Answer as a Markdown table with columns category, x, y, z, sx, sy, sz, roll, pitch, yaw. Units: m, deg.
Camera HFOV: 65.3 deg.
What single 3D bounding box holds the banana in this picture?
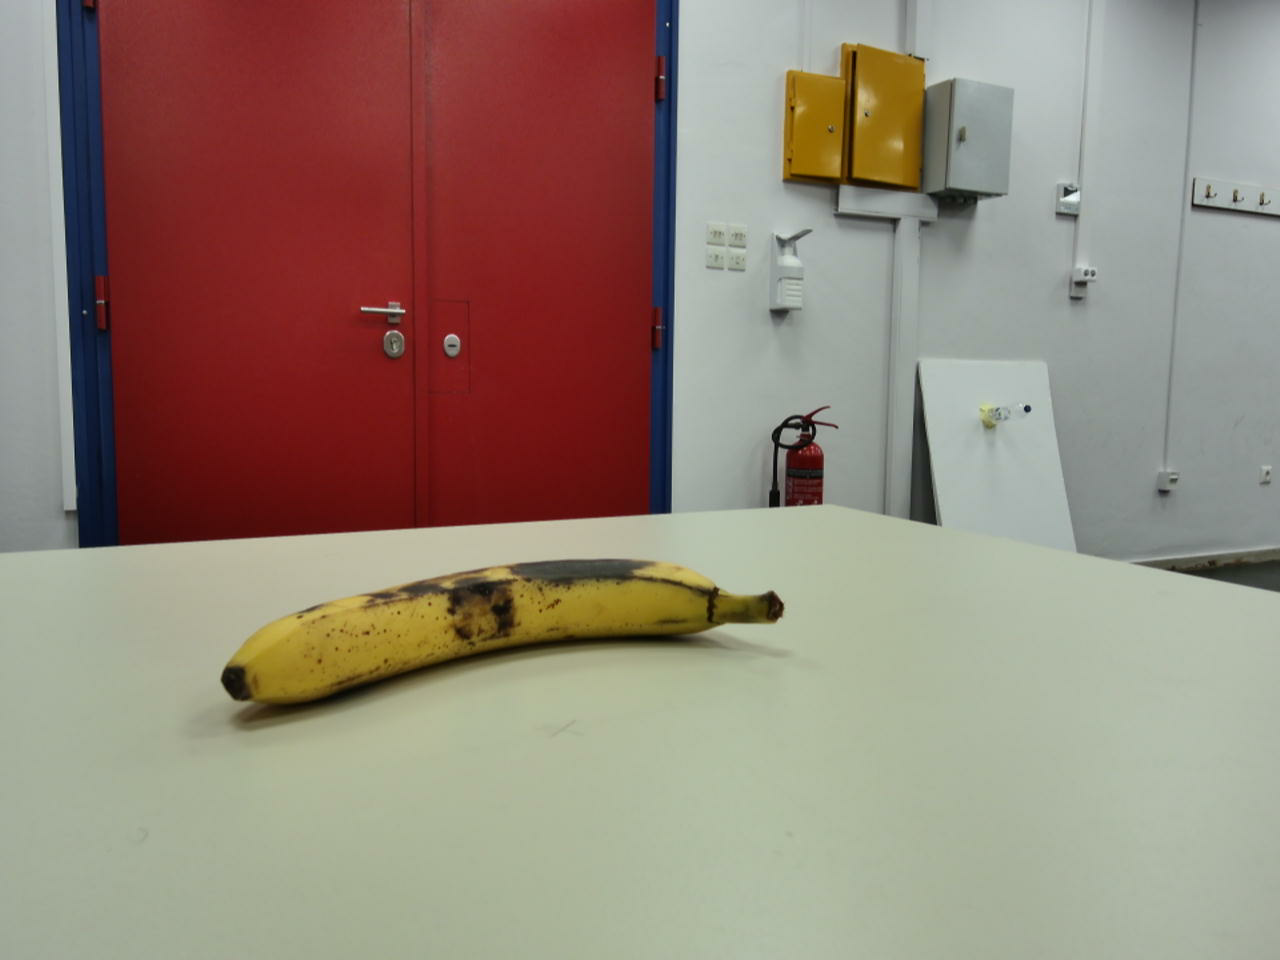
| category | x | y | z | sx | sy | sz | roll | pitch | yaw |
| --- | --- | --- | --- | --- | --- | --- | --- | --- | --- |
| banana | -0.054 | 0.057 | 0.411 | 0.222 | 0.037 | 0.084 | -2 | 4 | -26 |
